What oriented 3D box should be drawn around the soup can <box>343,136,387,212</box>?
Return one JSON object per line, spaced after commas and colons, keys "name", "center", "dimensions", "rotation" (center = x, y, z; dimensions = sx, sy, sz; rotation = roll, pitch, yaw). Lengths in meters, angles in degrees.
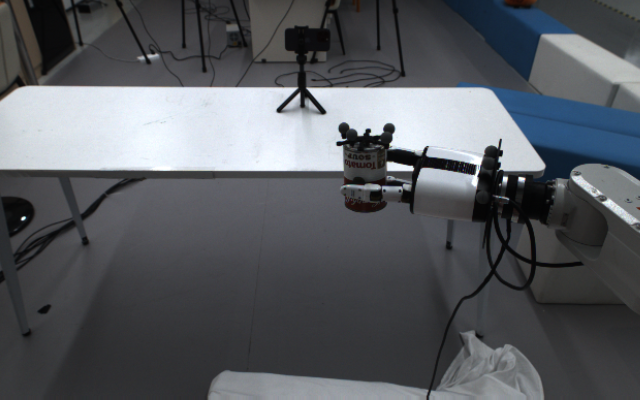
{"name": "soup can", "center": [0.071, -0.042, 0.745], "dimensions": [0.067, 0.101, 0.067], "rotation": [-3, 27, 2]}
